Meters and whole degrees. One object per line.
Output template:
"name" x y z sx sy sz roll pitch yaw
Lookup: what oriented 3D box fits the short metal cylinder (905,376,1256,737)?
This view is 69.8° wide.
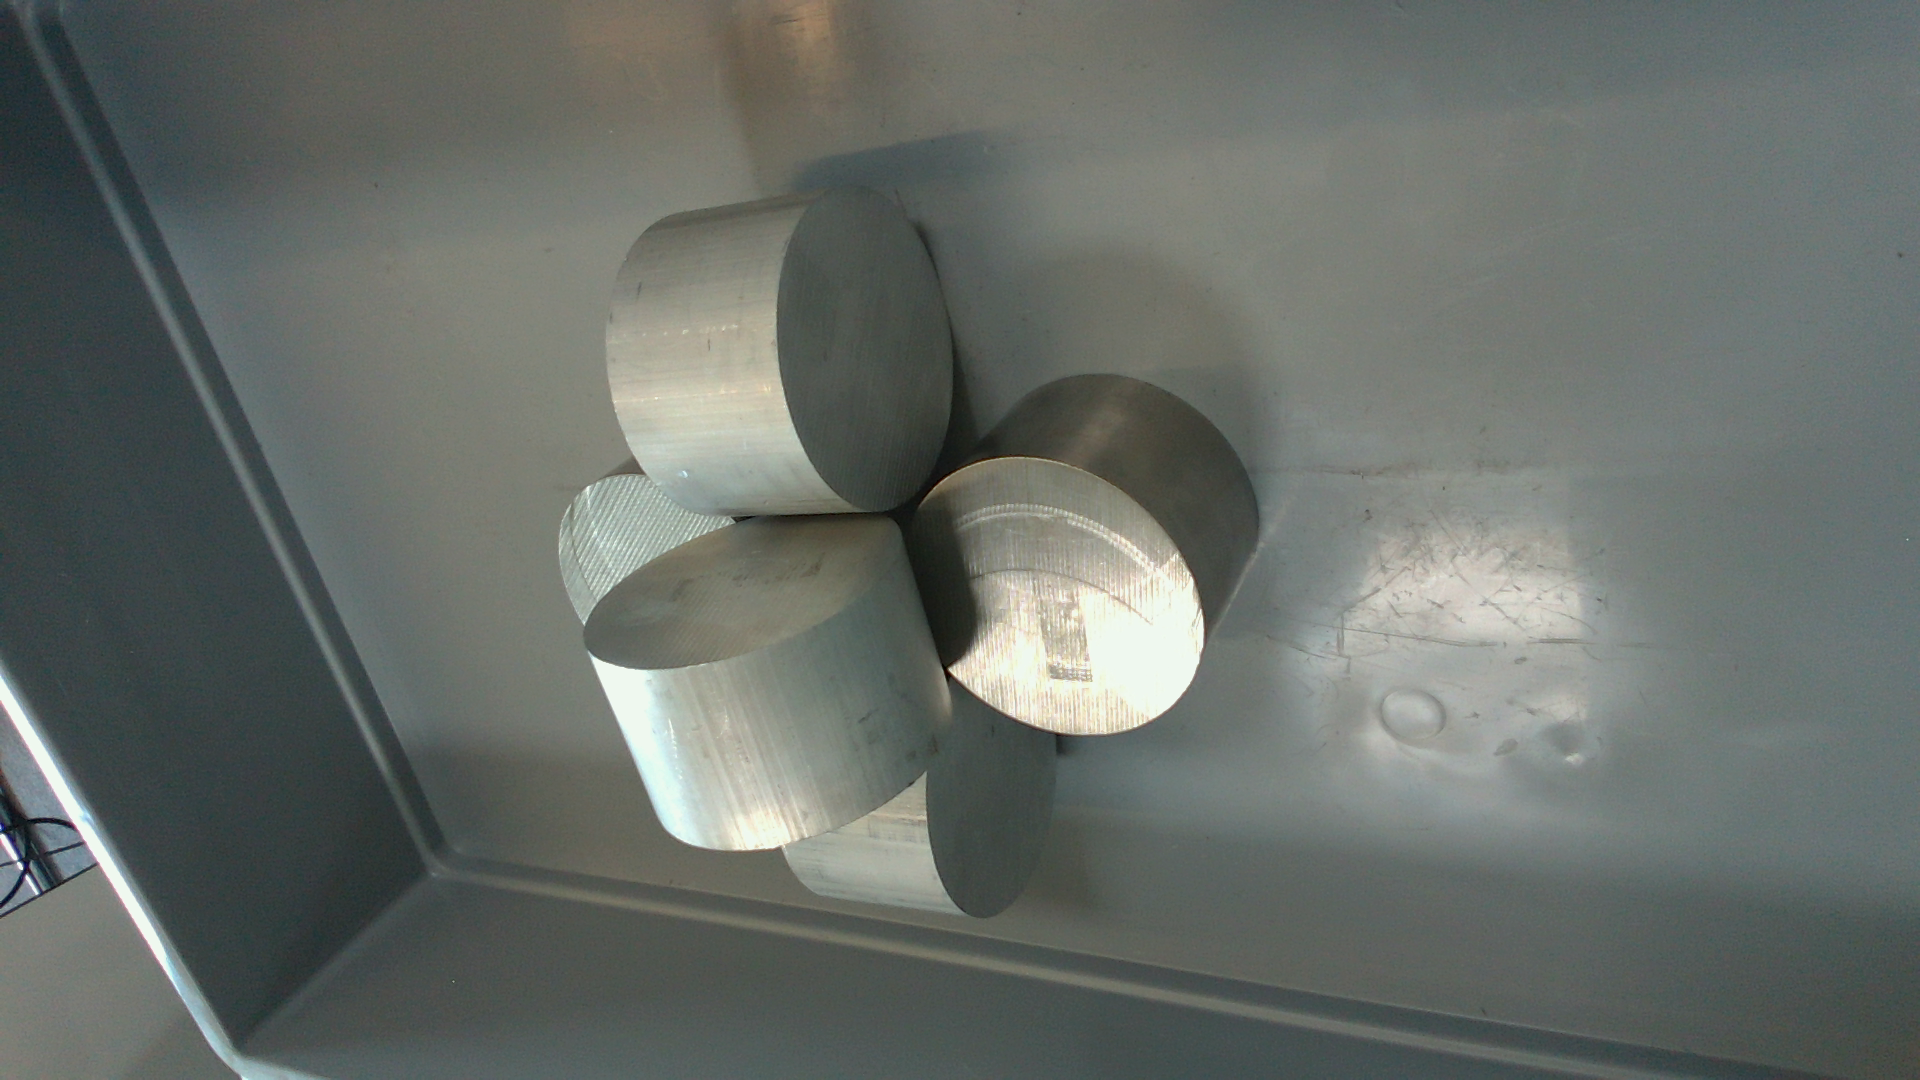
"short metal cylinder" 0.032 0.004 0.360 0.080 0.050 0.080 13 124 21

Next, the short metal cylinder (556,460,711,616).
"short metal cylinder" -0.074 0.005 0.418 0.080 0.050 0.080 13 124 21

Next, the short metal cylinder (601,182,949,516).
"short metal cylinder" -0.044 -0.046 0.350 0.050 0.080 0.080 -2 117 29

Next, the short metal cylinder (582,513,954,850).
"short metal cylinder" -0.046 0.031 0.343 0.080 0.080 0.050 -1 118 29

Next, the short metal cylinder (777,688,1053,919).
"short metal cylinder" -0.012 0.067 0.404 0.050 0.080 0.080 -2 117 29
